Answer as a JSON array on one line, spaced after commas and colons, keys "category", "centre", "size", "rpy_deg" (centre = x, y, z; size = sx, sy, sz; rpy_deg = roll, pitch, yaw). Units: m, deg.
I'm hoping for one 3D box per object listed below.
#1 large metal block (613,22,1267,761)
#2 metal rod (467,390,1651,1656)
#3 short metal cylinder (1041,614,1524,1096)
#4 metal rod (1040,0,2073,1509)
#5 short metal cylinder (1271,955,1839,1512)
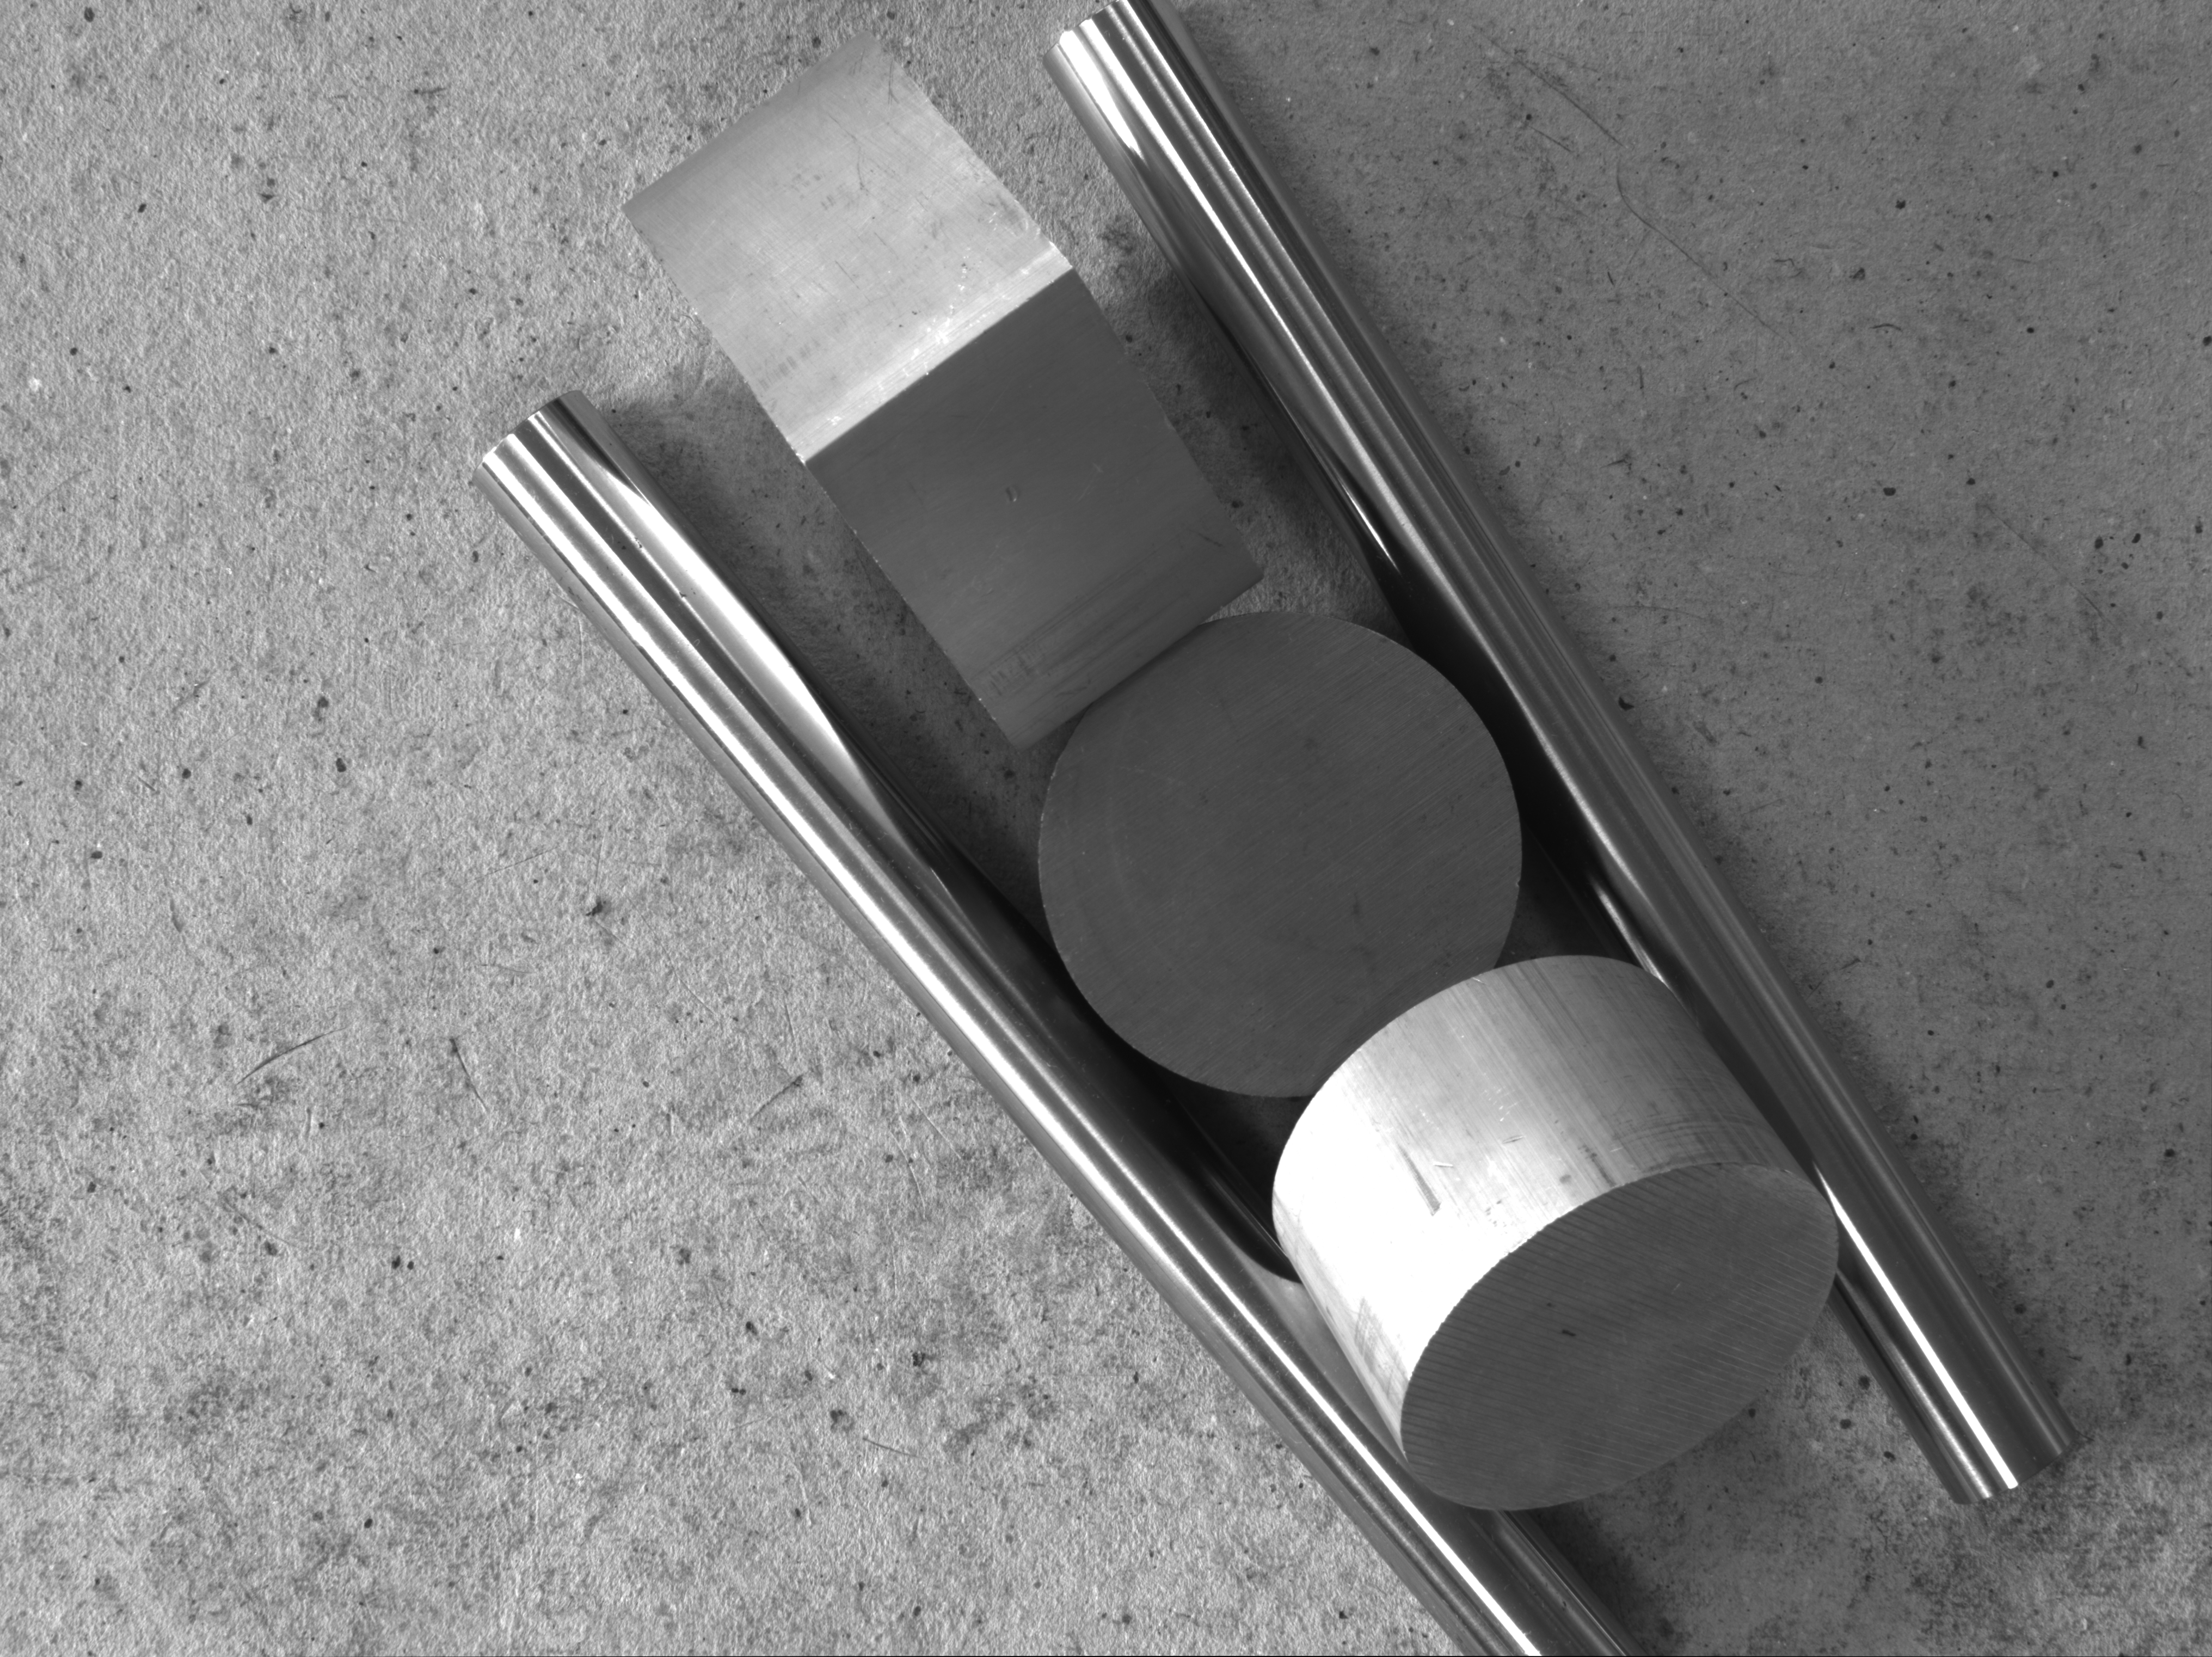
[{"category": "large metal block", "centre": [-0.027, -0.071, 0.603], "size": [0.050, 0.080, 0.080], "rpy_deg": [-36, 48, 0]}, {"category": "metal rod", "centre": [-0.005, 0.046, 0.645], "size": [0.025, 0.025, 0.300], "rpy_deg": [-40, 90, 0]}, {"category": "short metal cylinder", "centre": [0.029, 0.004, 0.633], "size": [0.080, 0.050, 0.080], "rpy_deg": [0, 90, 0]}, {"category": "metal rod", "centre": [0.079, -0.014, 0.646], "size": [0.025, 0.025, 0.300], "rpy_deg": [-32, 90, 0]}, {"category": "short metal cylinder", "centre": [0.074, 0.068, 0.612], "size": [0.080, 0.080, 0.050], "rpy_deg": [-31, 47, 0]}]
